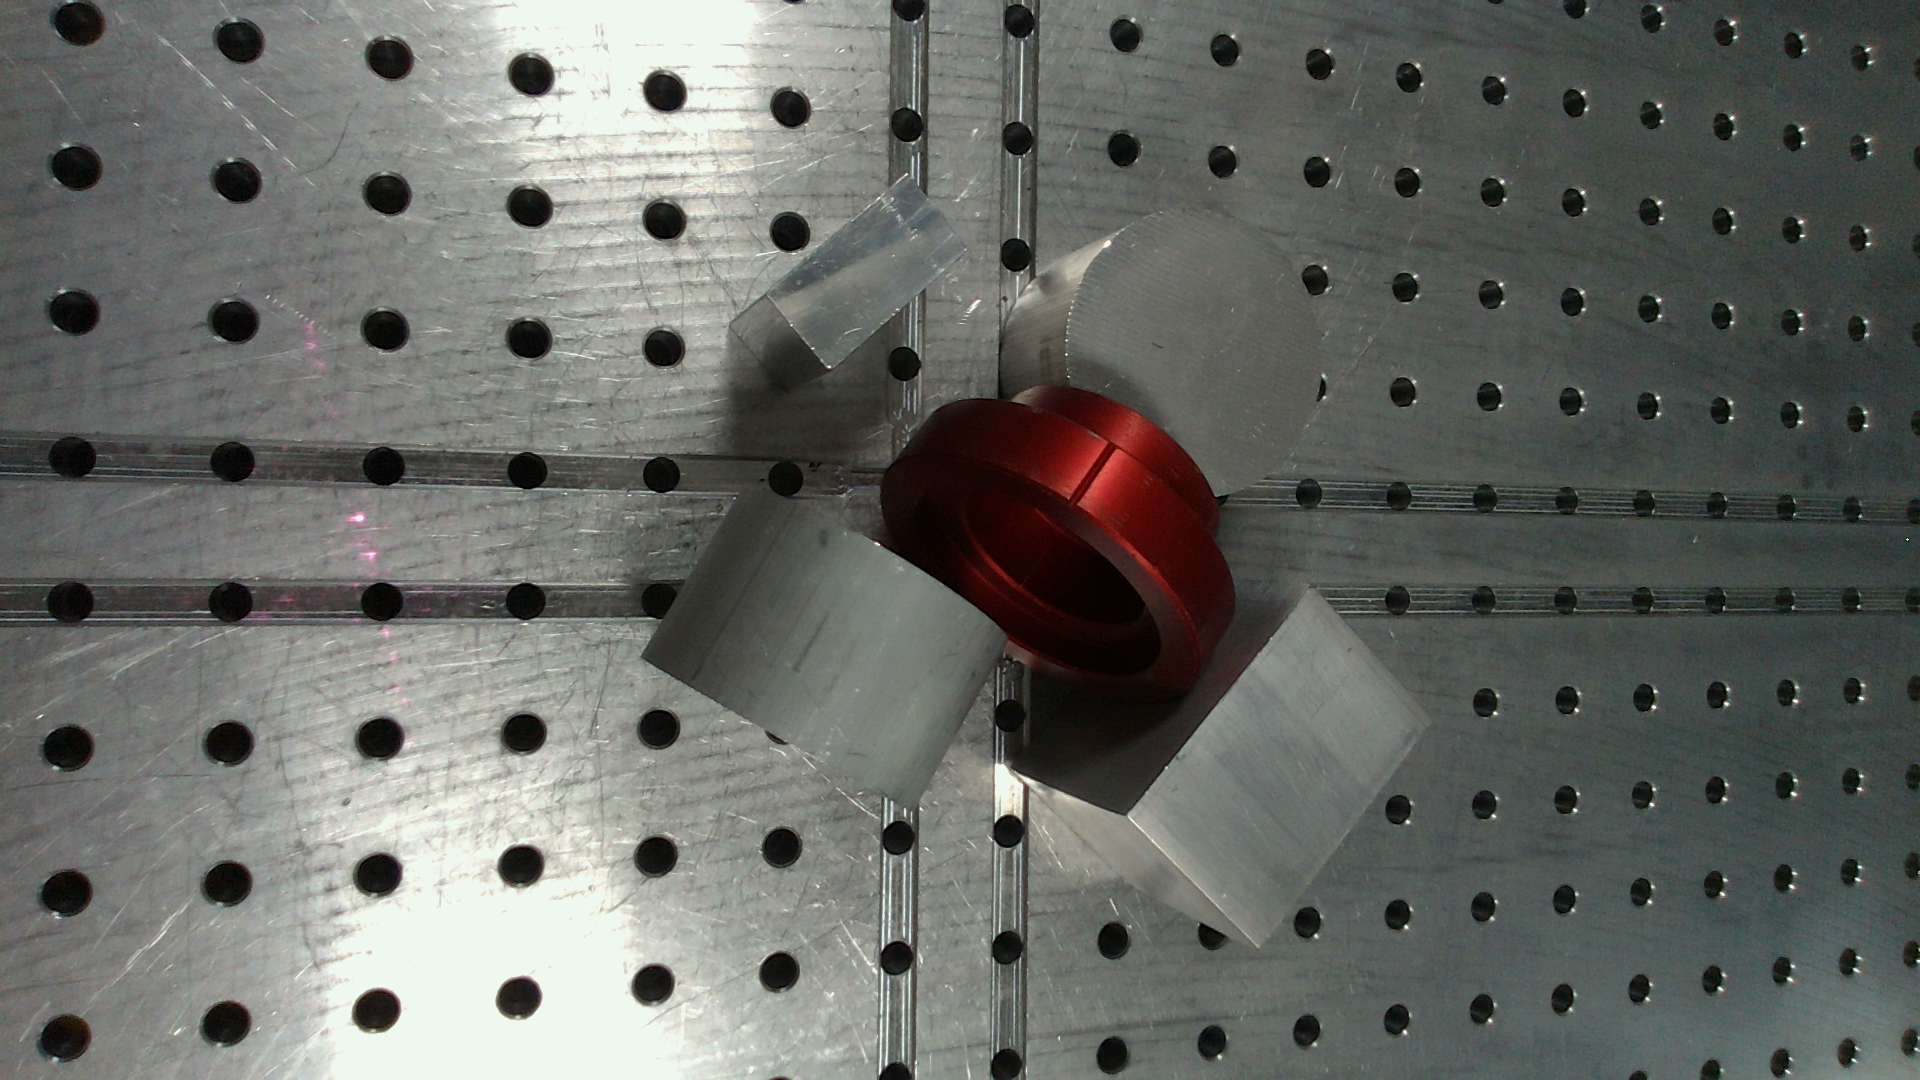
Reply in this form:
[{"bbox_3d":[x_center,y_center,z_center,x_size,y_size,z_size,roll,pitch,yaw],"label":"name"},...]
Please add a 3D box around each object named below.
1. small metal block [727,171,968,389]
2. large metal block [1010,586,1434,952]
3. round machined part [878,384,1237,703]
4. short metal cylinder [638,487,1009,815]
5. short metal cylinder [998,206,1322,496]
[{"bbox_3d":[-0.032,-0.068,0.371,0.050,0.050,0.025,-44,104,-14],"label":"small metal block"},{"bbox_3d":[0.072,0.059,0.393,0.050,0.080,0.080,45,76,-14],"label":"large metal block"},{"bbox_3d":[0.030,-0.003,0.369,0.098,0.098,0.042,43,65,-15],"label":"round machined part"},{"bbox_3d":[-0.034,0.029,0.354,0.080,0.080,0.050,33,80,-17],"label":"short metal cylinder"},{"bbox_3d":[0.057,-0.052,0.403,0.080,0.050,0.080,0,90,-20],"label":"short metal cylinder"}]
